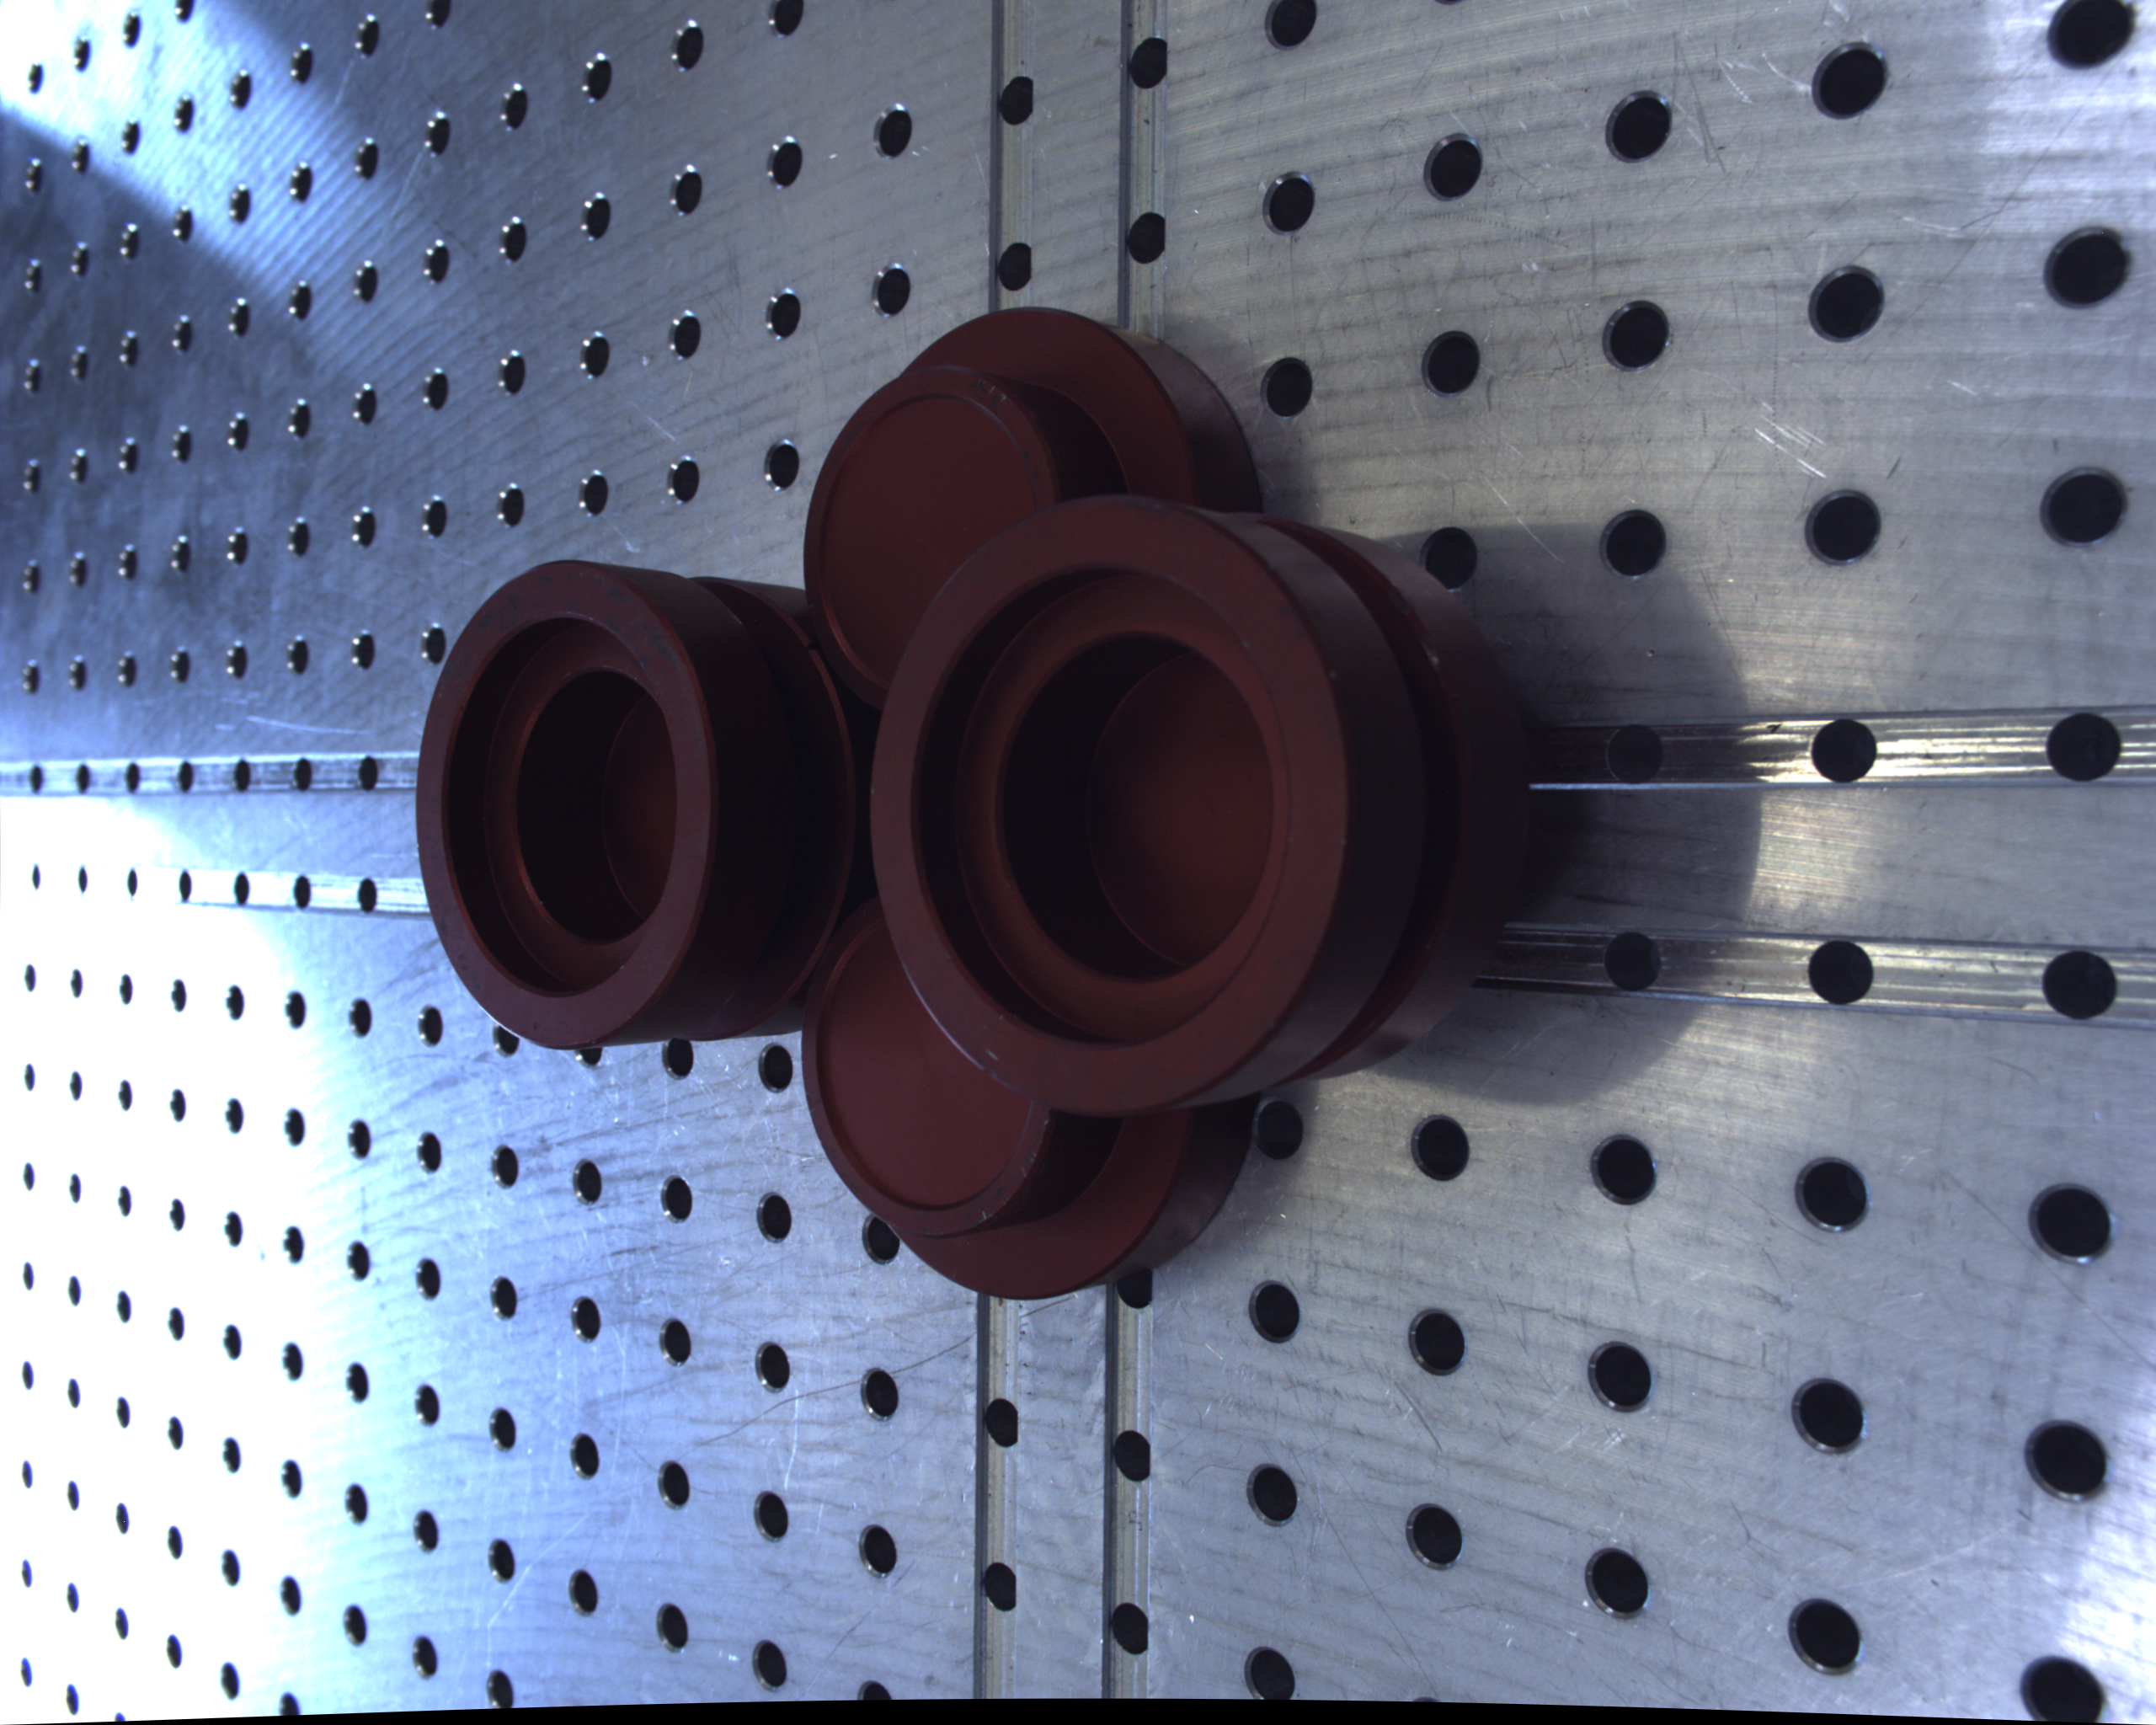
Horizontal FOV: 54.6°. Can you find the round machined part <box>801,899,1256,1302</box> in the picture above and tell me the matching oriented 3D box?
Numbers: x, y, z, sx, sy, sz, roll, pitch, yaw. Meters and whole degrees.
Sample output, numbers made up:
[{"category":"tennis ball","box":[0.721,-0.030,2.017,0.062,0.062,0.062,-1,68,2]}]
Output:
[{"category":"round machined part","box":[-0.016,0.038,0.412,0.098,0.042,0.097,0,90,40]}]

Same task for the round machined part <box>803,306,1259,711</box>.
[{"category":"round machined part","box":[-0.016,-0.061,0.412,0.098,0.042,0.097,0,90,40]}]

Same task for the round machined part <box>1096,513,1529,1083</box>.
[{"category":"round machined part","box":[0.036,-0.010,0.369,0.098,0.042,0.097,0,90,40]}]

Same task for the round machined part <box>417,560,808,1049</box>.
[{"category":"round machined part","box":[-0.091,-0.012,0.432,0.098,0.042,0.097,0,90,40]}]

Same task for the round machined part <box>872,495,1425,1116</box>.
[{"category":"round machined part","box":[0.015,-0.009,0.344,0.098,0.042,0.097,0,90,40]}]

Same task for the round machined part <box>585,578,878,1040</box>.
[{"category":"round machined part","box":[-0.068,-0.011,0.455,0.098,0.042,0.097,0,90,40]}]
